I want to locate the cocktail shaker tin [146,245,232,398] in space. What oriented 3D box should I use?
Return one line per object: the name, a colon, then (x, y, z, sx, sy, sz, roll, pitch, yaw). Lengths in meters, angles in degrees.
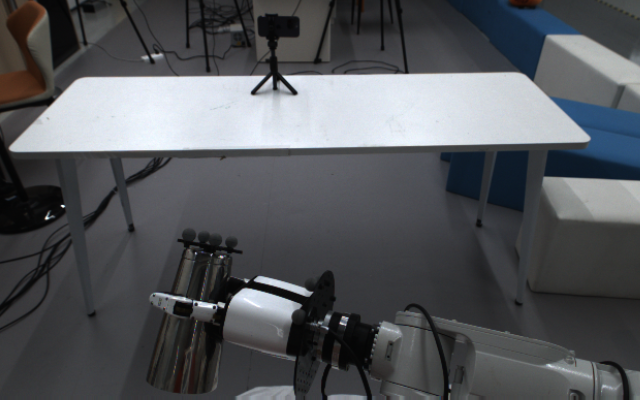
cocktail shaker tin: (-0.163, 0.154, 0.637, 0.093, 0.170, 0.093, 11, -5, 1)
